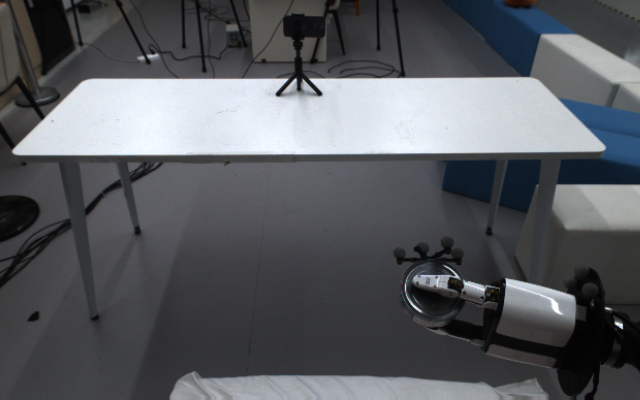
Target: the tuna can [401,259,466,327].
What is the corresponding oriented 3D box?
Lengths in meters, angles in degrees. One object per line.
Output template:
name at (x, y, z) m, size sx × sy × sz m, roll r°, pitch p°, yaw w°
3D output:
tuna can at (0.150, 0.123, 0.645) m, size 0.085 × 0.034 × 0.085 m, roll -2°, pitch 58°, yaw 3°
